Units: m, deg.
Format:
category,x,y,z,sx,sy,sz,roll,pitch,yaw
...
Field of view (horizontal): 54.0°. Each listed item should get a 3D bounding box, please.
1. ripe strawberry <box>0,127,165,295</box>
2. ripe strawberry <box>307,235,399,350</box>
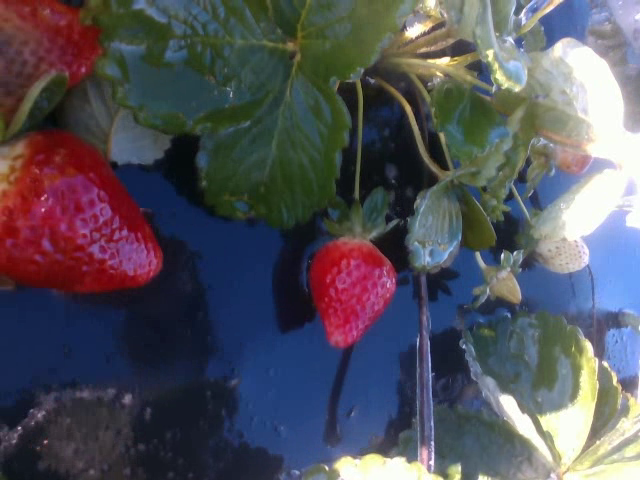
category,x,y,z,sx,sy,sz,roll,pitch,yaw
ripe strawberry,-0.062,0.000,0.167,0.040,0.044,0.056,21,-18,47
ripe strawberry,0.013,0.021,0.221,0.040,0.047,0.039,6,-18,44
